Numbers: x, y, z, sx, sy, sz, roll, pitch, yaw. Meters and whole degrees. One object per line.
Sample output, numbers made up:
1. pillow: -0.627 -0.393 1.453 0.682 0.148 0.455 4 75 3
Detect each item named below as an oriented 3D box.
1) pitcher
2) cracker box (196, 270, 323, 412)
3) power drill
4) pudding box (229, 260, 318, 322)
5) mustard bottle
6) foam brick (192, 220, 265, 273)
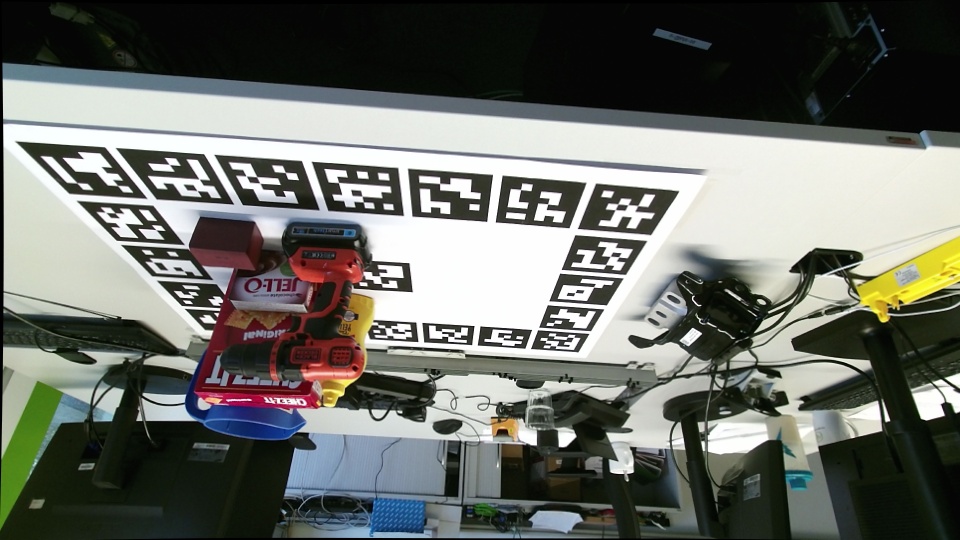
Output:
1. pitcher: -0.374 0.158 0.899 0.189 0.241 0.133 6 147 -9
2. cracker box: -0.319 0.103 0.818 0.165 0.212 0.072 1 150 -3
3. power drill: -0.241 0.062 0.720 0.185 0.186 0.057 4 151 -1
4. pudding box: -0.306 0.032 0.806 0.114 0.089 0.039 2 149 -5
5. mustard bottle: -0.241 0.158 0.912 0.096 0.190 0.058 11 145 -14
6. foam brick: -0.357 -0.033 0.766 0.078 0.051 0.053 5 146 -5
